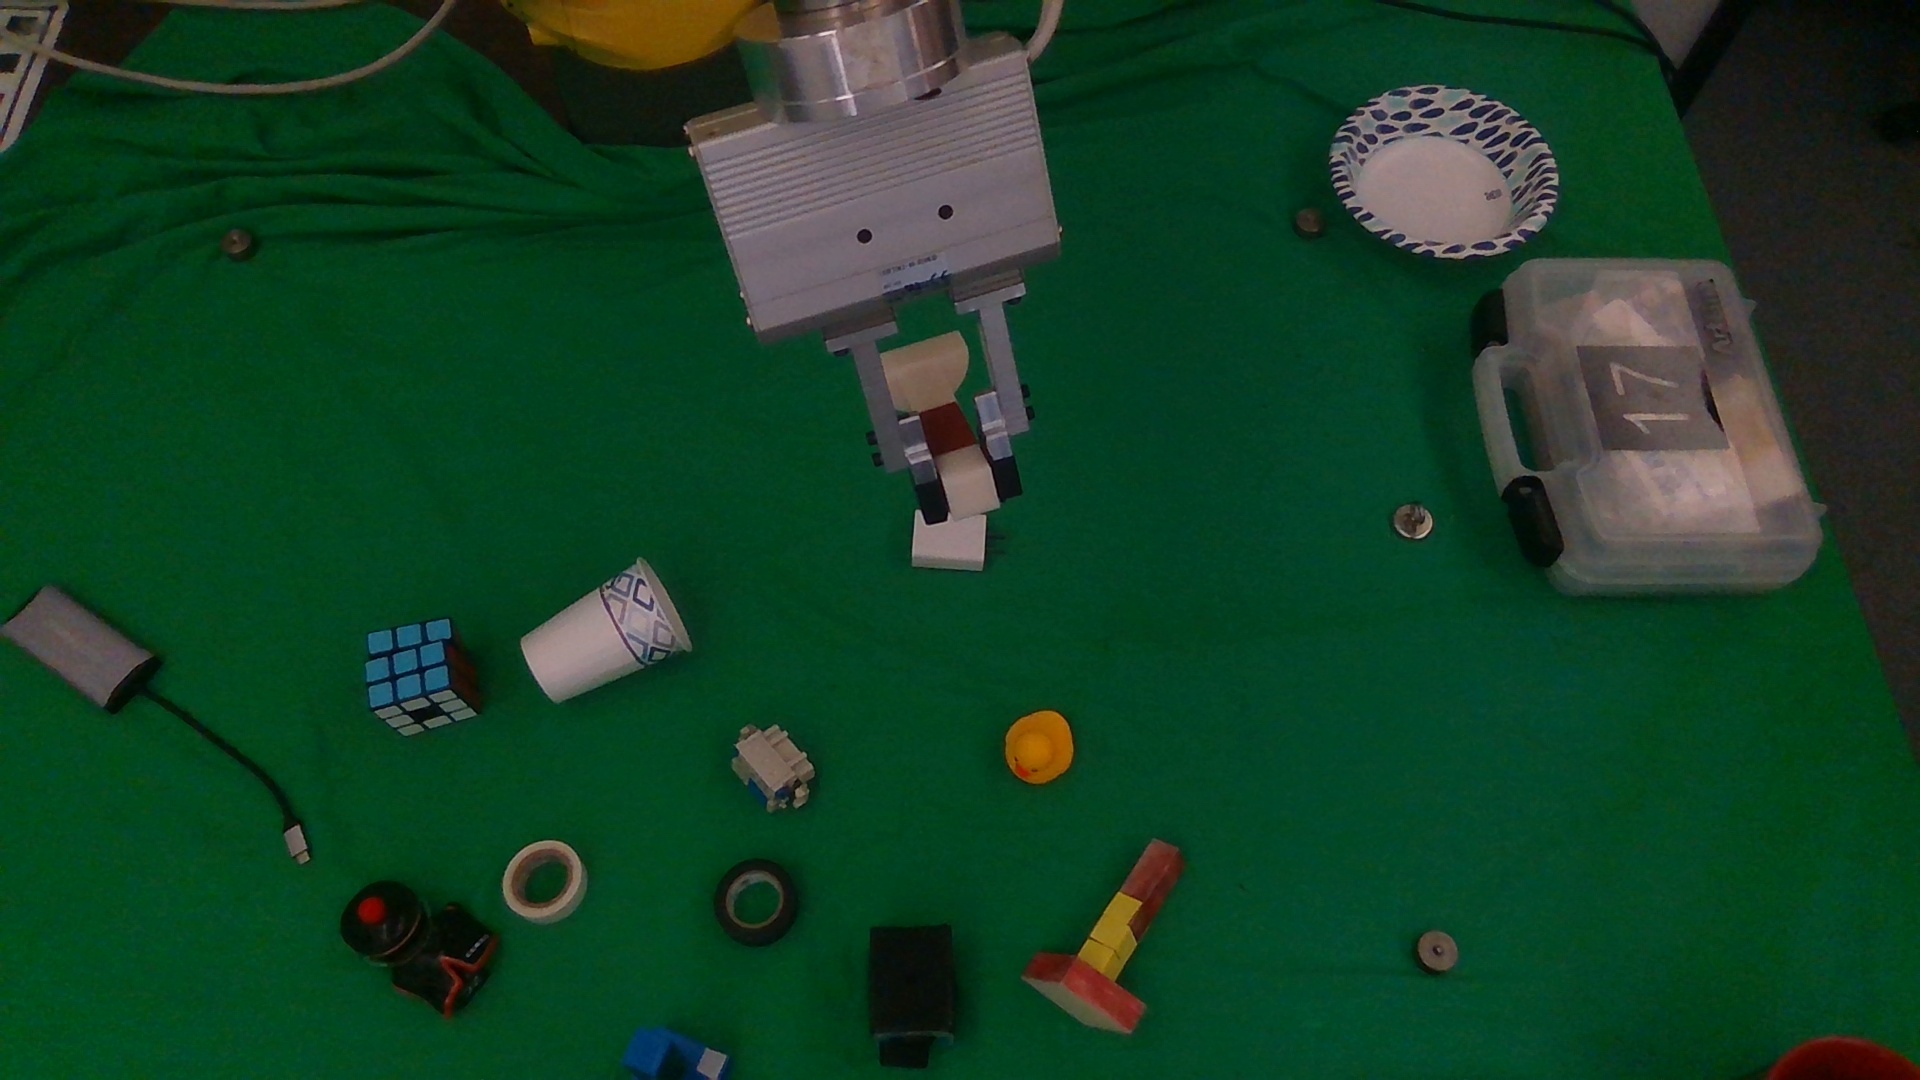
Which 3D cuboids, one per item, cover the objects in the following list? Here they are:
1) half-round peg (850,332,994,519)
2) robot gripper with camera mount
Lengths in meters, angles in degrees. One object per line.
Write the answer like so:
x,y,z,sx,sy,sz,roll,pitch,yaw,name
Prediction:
-0.011,-0.049,0.598,0.054,0.031,0.122,-17,34,-4,half-round peg
-0.036,-0.113,0.589,0.119,0.158,0.194,-18,30,-6,robot gripper with camera mount
